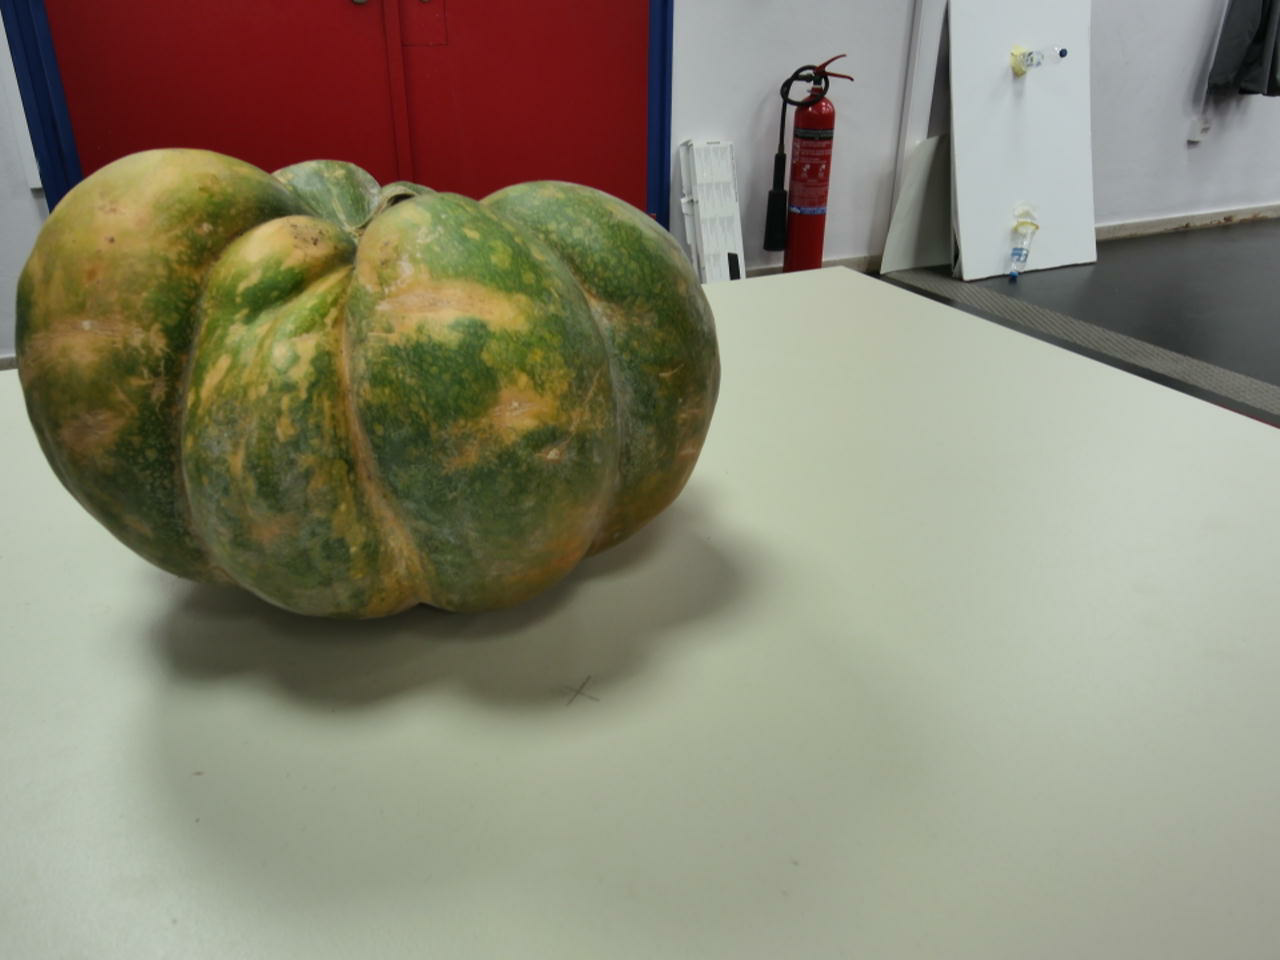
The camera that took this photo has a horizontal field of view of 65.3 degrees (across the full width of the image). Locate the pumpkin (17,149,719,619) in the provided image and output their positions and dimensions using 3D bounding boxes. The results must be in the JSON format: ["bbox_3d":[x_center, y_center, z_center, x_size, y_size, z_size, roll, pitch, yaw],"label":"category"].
[{"bbox_3d":[-0.103,-0.049,0.405,0.270,0.173,0.237,4,25,10],"label":"pumpkin"}]
